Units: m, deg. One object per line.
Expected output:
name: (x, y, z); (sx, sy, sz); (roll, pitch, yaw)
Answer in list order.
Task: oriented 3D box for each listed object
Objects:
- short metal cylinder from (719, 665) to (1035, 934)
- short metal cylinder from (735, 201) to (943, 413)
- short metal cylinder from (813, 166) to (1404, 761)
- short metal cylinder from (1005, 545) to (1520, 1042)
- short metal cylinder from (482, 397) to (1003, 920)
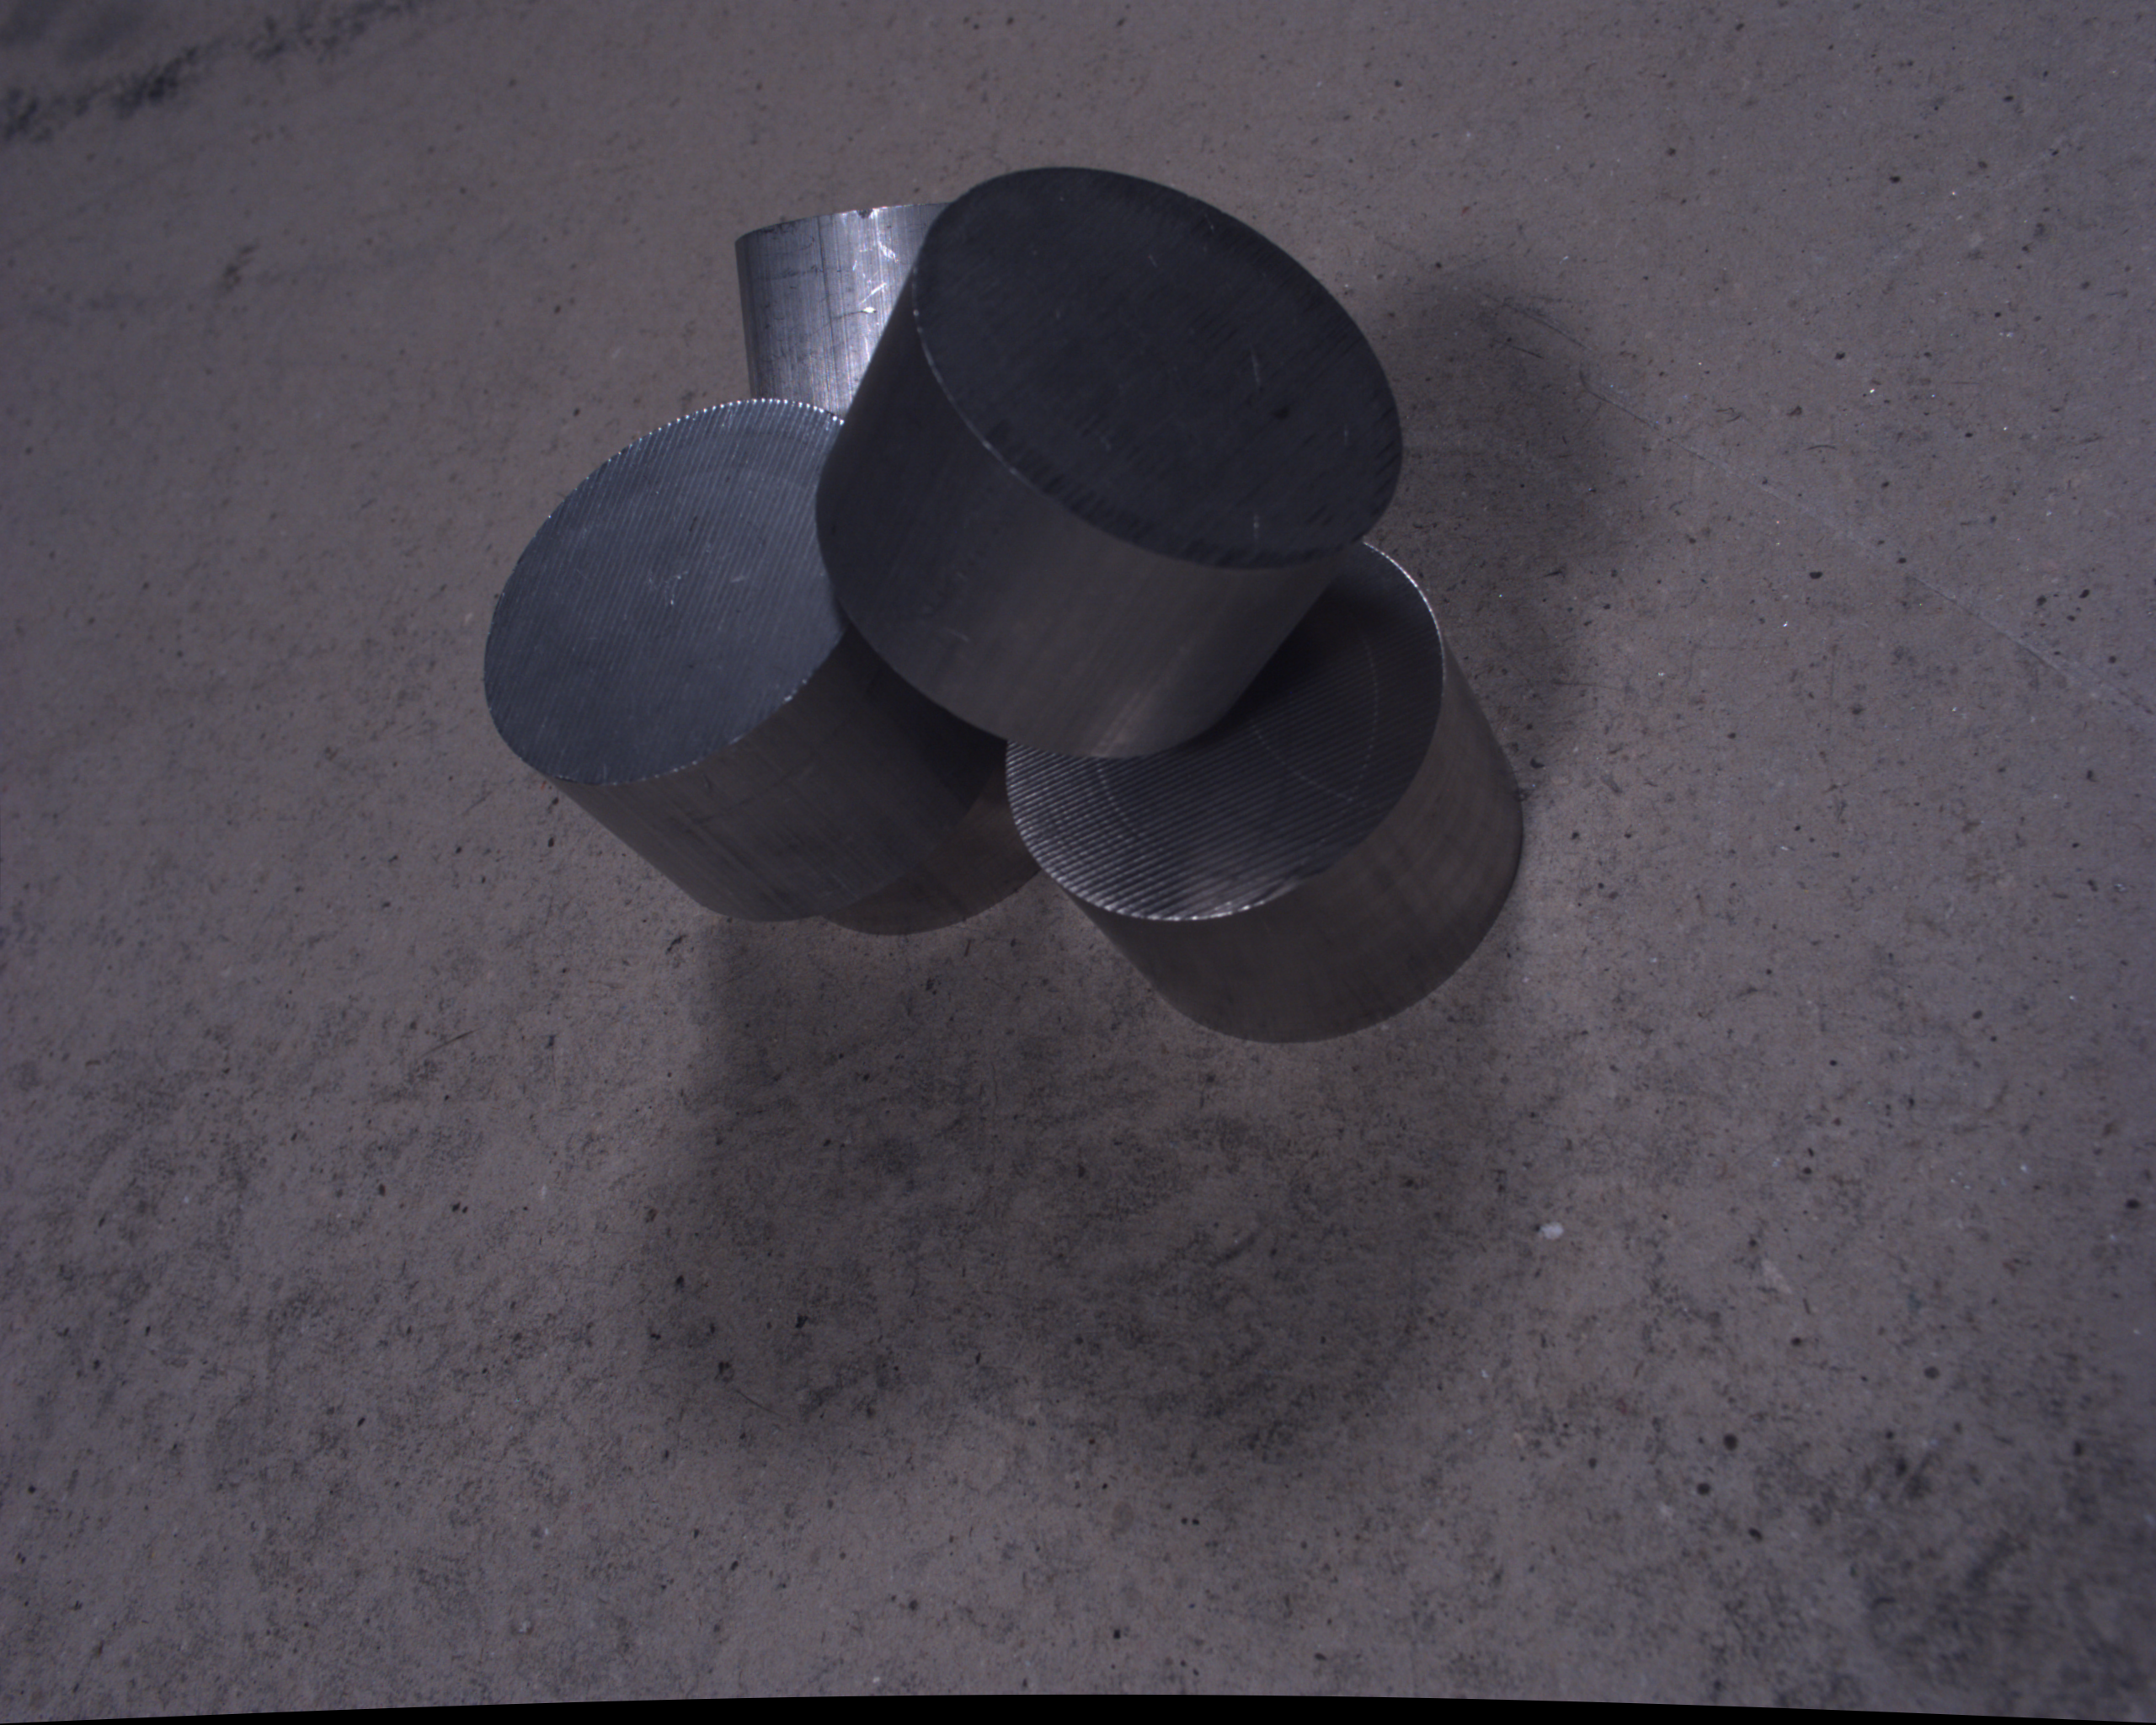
short metal cylinder: (-0.041, -0.032, 0.429); (0.080, 0.050, 0.080); (-13, 56, 20)
short metal cylinder: (-0.029, -0.108, 0.442); (0.080, 0.080, 0.050); (0, 101, 28)
short metal cylinder: (0.004, -0.063, 0.332); (0.050, 0.081, 0.080); (127, 147, -50)
short metal cylinder: (0.034, -0.014, 0.378); (0.080, 0.050, 0.080); (-13, 56, 20)
short metal cylinder: (-0.058, -0.036, 0.375); (0.080, 0.050, 0.080); (-13, 56, 20)
